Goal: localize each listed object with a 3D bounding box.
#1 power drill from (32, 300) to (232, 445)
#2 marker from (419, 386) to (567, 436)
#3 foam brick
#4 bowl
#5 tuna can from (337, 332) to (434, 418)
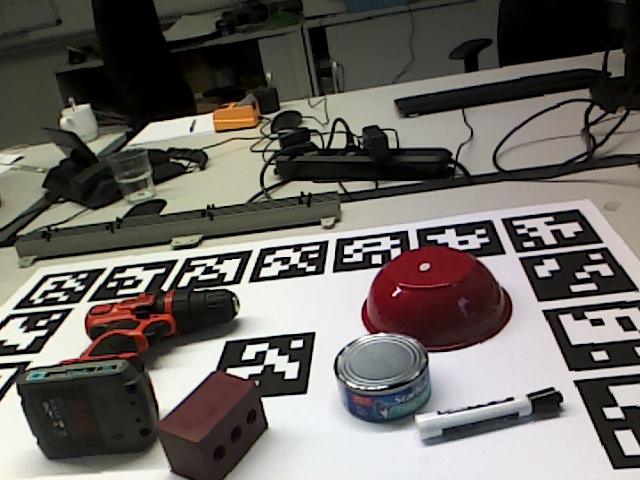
[{"bbox_3d":[-0.194,0.125,0.640,0.185,0.057,0.187,-5,23,5],"label":"power drill"},{"bbox_3d":[0.143,0.140,0.507,0.121,0.019,0.020,-11,27,-2],"label":"marker"},{"bbox_3d":[-0.086,0.164,0.526,0.052,0.052,0.078,6,31,28],"label":"foam brick"},{"bbox_3d":[0.116,0.058,0.672,0.162,0.055,0.162,-12,18,3],"label":"bowl"},{"bbox_3d":[0.060,0.121,0.562,0.086,0.033,0.086,-7,26,3],"label":"tuna can"}]
